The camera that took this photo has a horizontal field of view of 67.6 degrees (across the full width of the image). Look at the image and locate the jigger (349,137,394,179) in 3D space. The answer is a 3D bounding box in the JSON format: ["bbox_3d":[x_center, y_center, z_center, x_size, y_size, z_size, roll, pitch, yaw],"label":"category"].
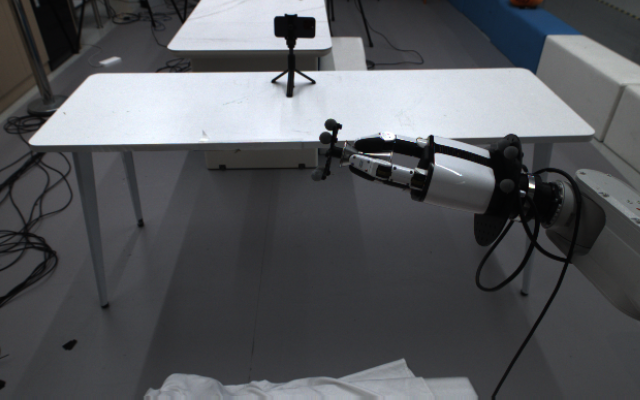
[{"bbox_3d":[0.071,-0.059,0.682,0.071,0.043,0.043,14,36,4],"label":"jigger"}]
